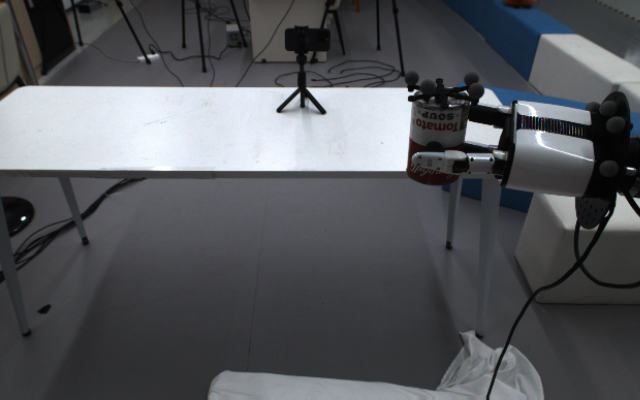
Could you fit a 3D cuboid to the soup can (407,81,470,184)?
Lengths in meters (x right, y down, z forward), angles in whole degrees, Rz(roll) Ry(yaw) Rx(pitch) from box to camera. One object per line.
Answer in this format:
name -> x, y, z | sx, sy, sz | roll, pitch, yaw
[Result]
soup can -> 0.145, -0.080, 0.594 | 0.067, 0.101, 0.067 | -2, 34, 1
